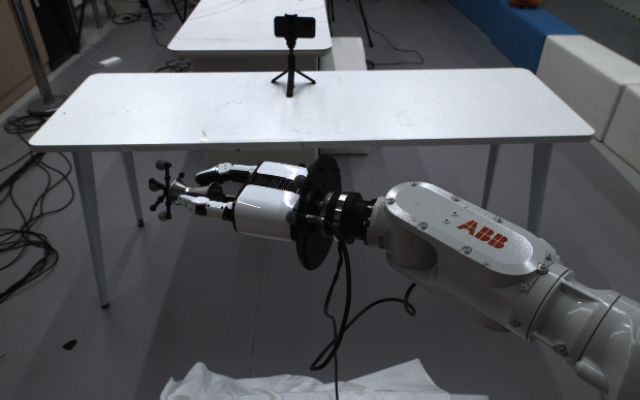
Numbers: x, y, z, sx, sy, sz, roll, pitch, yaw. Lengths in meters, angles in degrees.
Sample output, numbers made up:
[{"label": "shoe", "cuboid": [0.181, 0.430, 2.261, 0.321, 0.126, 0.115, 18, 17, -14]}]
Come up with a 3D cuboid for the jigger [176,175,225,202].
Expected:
[{"label": "jigger", "cuboid": [-0.181, -0.011, 0.727, 0.071, 0.043, 0.043, 6, 34, 20]}]
